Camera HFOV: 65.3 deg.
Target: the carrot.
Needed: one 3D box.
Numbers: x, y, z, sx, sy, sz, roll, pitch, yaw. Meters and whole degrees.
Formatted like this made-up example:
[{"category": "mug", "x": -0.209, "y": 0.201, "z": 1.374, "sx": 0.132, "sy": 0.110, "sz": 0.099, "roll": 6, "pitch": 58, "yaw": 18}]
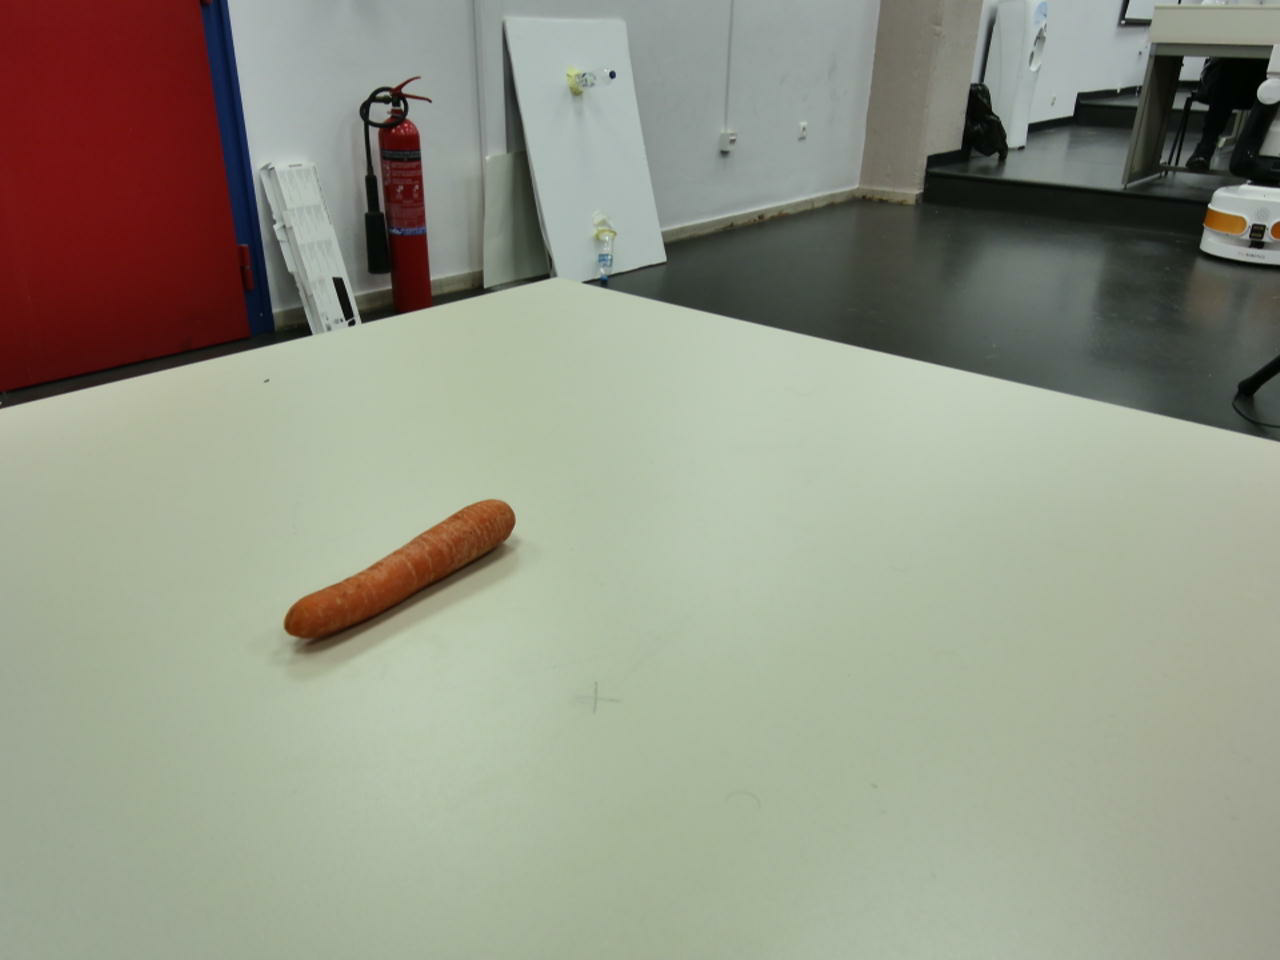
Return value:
[{"category": "carrot", "x": -0.098, "y": 0.036, "z": 0.423, "sx": 0.024, "sy": 0.023, "sz": 0.122, "roll": 17, "pitch": 28, "yaw": 33}]
